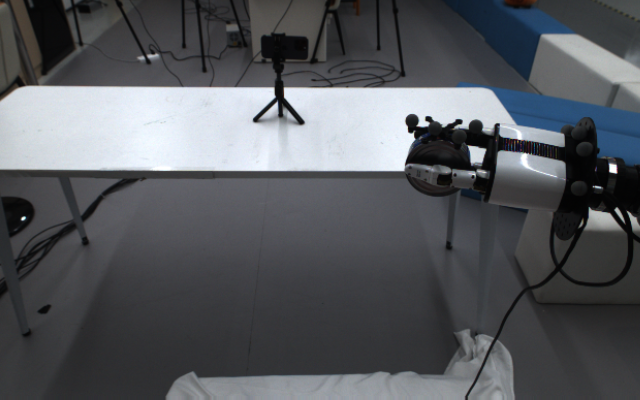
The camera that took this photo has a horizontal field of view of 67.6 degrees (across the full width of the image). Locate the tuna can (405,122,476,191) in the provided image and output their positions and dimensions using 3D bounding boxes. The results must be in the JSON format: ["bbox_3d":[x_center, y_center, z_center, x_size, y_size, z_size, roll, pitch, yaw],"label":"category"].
[{"bbox_3d":[0.160,-0.053,0.653,0.085,0.085,0.034,10,34,11],"label":"tuna can"}]
